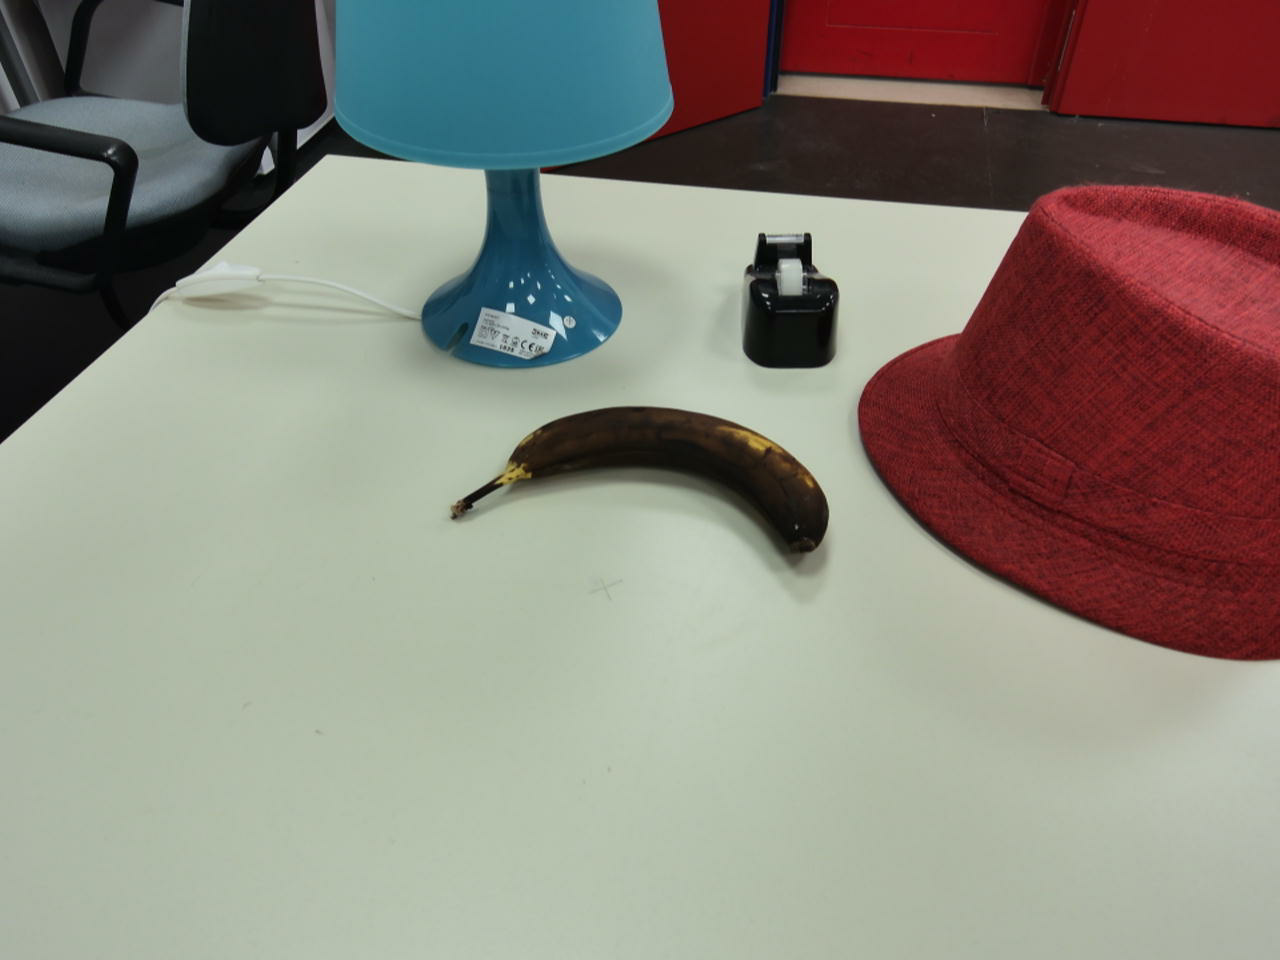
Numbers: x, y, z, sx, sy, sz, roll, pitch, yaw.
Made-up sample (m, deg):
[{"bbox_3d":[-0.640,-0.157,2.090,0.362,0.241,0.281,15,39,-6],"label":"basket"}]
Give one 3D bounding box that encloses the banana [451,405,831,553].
[{"bbox_3d":[0.004,-0.007,0.514,0.188,0.034,0.091,8,40,11],"label":"banana"}]
